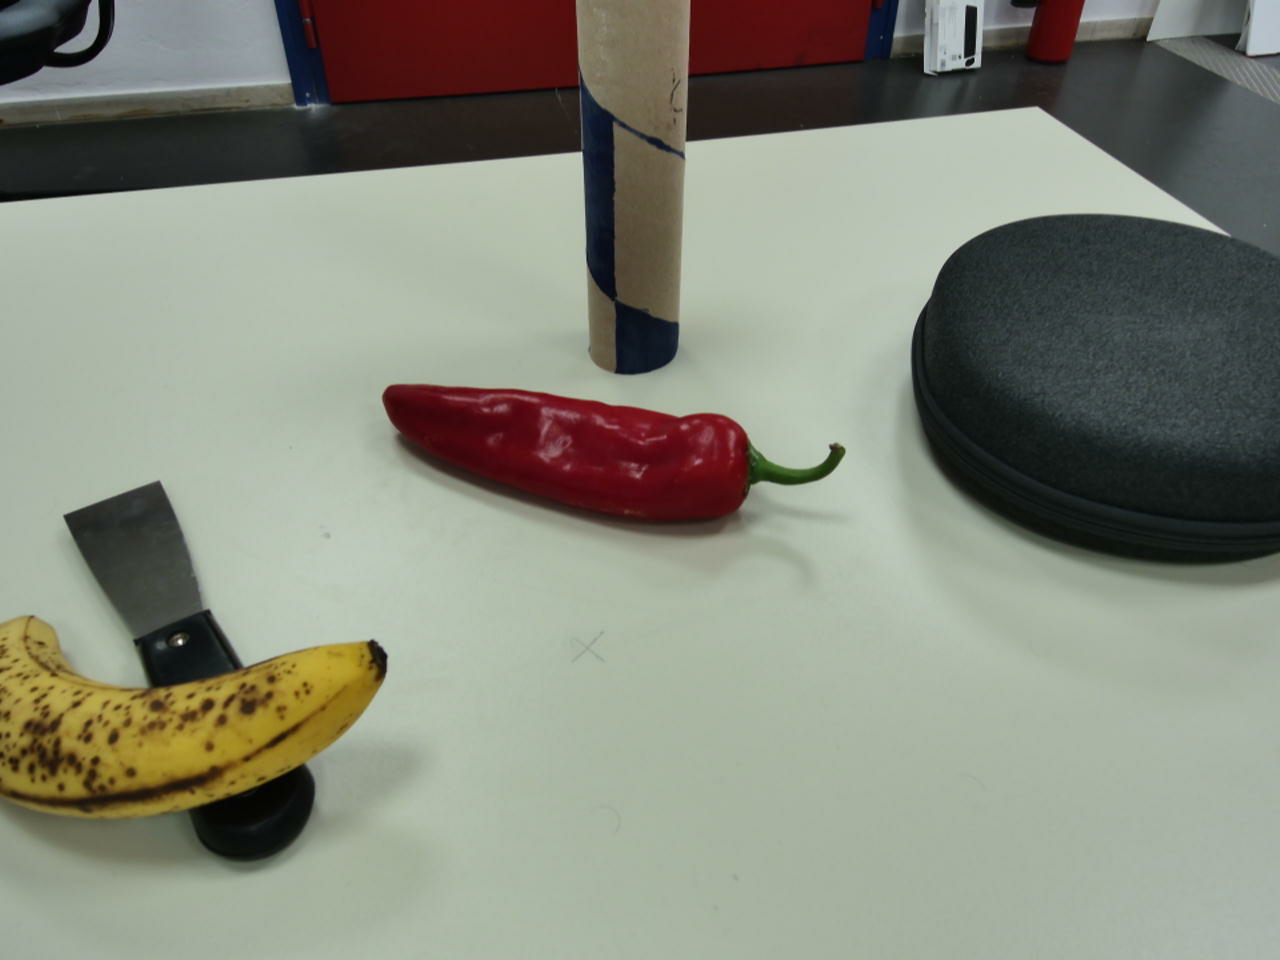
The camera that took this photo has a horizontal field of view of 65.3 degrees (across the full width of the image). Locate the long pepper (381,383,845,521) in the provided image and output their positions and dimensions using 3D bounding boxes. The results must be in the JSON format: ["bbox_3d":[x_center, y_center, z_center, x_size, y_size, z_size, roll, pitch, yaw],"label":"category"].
[{"bbox_3d":[-0.021,-0.015,0.426,0.211,0.043,0.050,12,40,15],"label":"long pepper"}]
